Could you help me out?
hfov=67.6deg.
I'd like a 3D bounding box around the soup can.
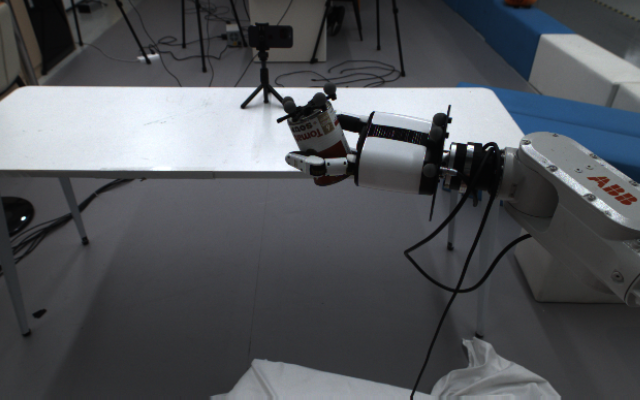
[{"bbox_3d":[0.005,-0.080,0.684,0.067,0.101,0.067,-21,24,10],"label":"soup can"}]
